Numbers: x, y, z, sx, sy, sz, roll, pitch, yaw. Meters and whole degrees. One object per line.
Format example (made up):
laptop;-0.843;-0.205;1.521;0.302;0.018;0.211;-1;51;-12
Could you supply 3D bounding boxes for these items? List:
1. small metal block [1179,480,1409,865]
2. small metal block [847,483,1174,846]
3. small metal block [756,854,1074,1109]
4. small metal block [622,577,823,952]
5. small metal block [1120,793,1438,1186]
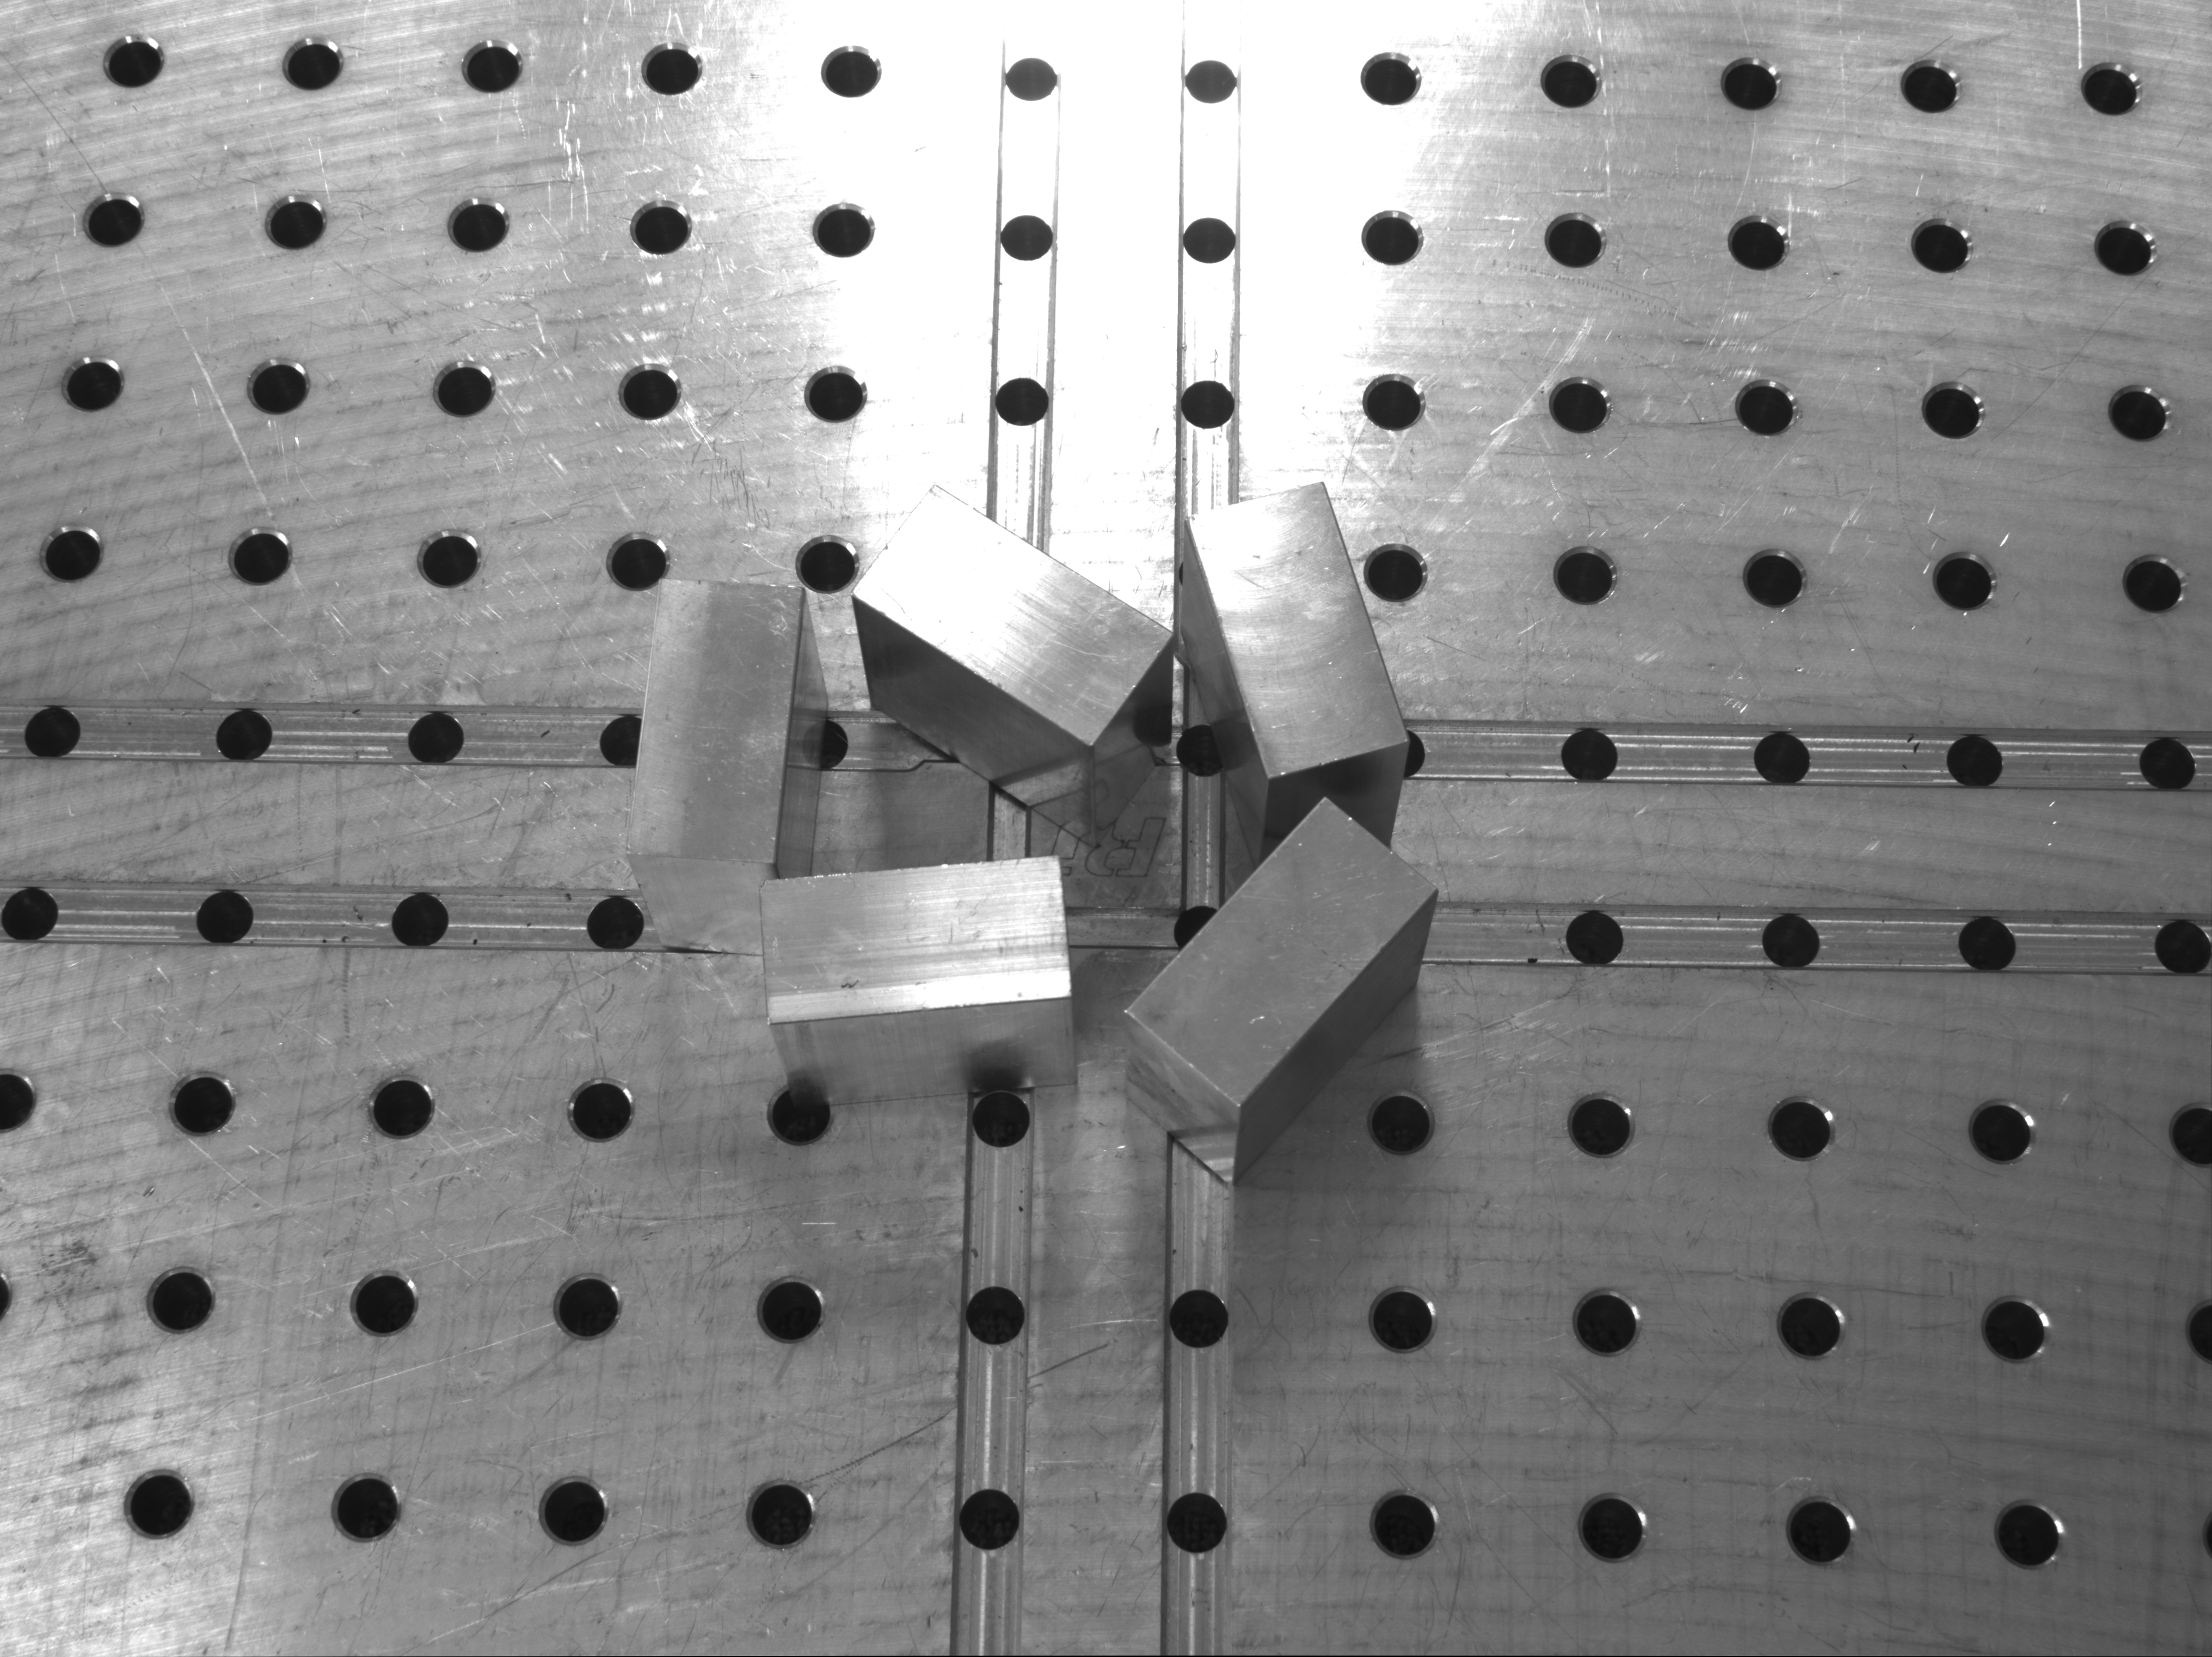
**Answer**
small metal block;0.032;-0.025;0.643;0.025;0.050;0.050;-15;70;-5
small metal block;-0.016;-0.028;0.645;0.050;0.050;0.025;32;74;11
small metal block;-0.032;0.027;0.624;0.050;0.050;0.025;-5;70;-2
small metal block;-0.066;-0.010;0.638;0.025;0.050;0.050;3;70;2
small metal block;0.029;0.028;0.624;0.025;0.050;0.050;40;75;15
